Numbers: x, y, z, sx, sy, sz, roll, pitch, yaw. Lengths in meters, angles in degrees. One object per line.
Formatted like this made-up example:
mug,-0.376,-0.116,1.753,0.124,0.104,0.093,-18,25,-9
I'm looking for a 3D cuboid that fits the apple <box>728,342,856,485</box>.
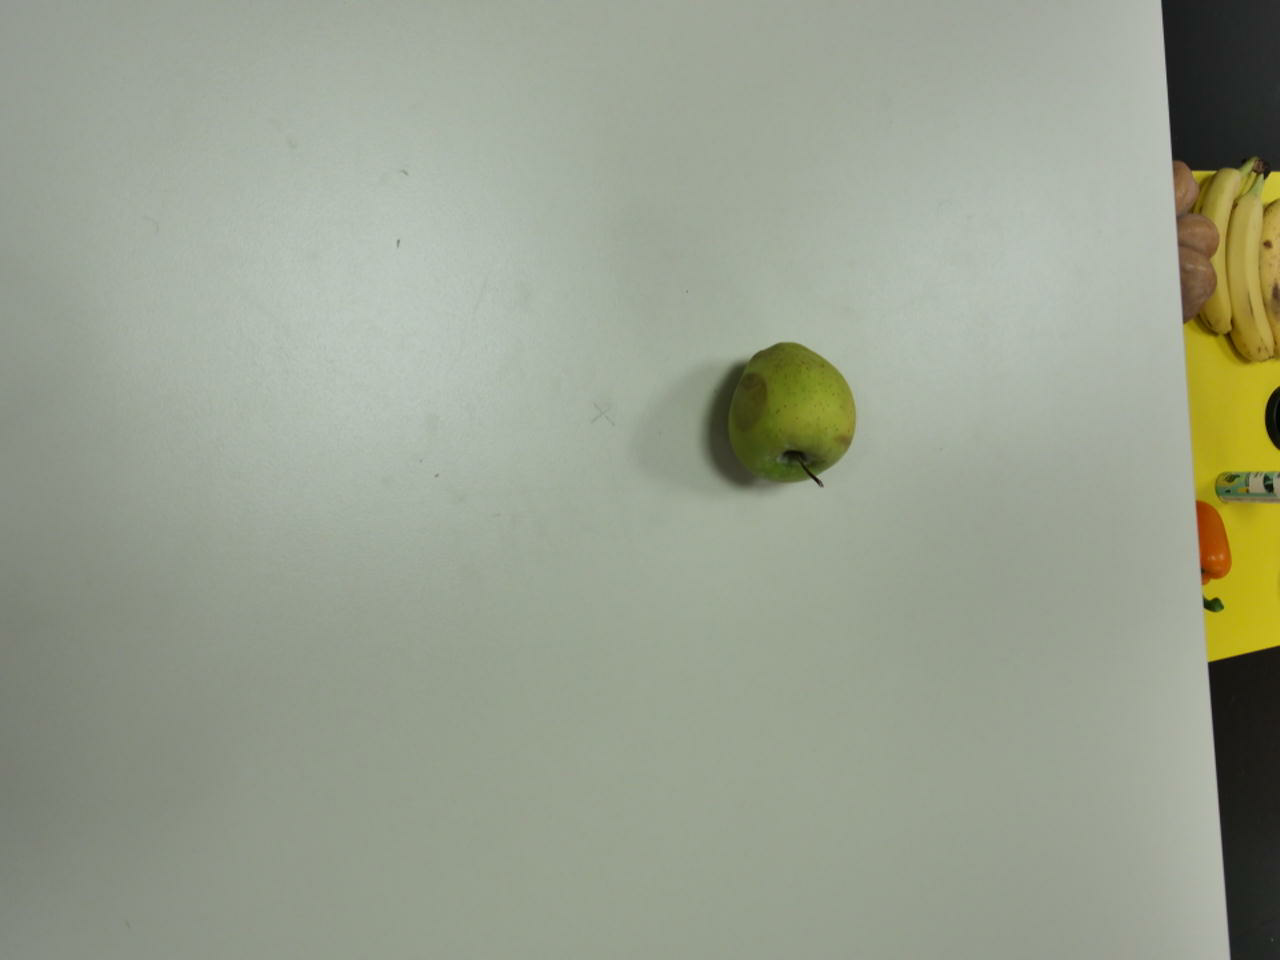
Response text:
apple,0.086,-0.037,0.565,0.072,0.075,0.077,42,76,-17
